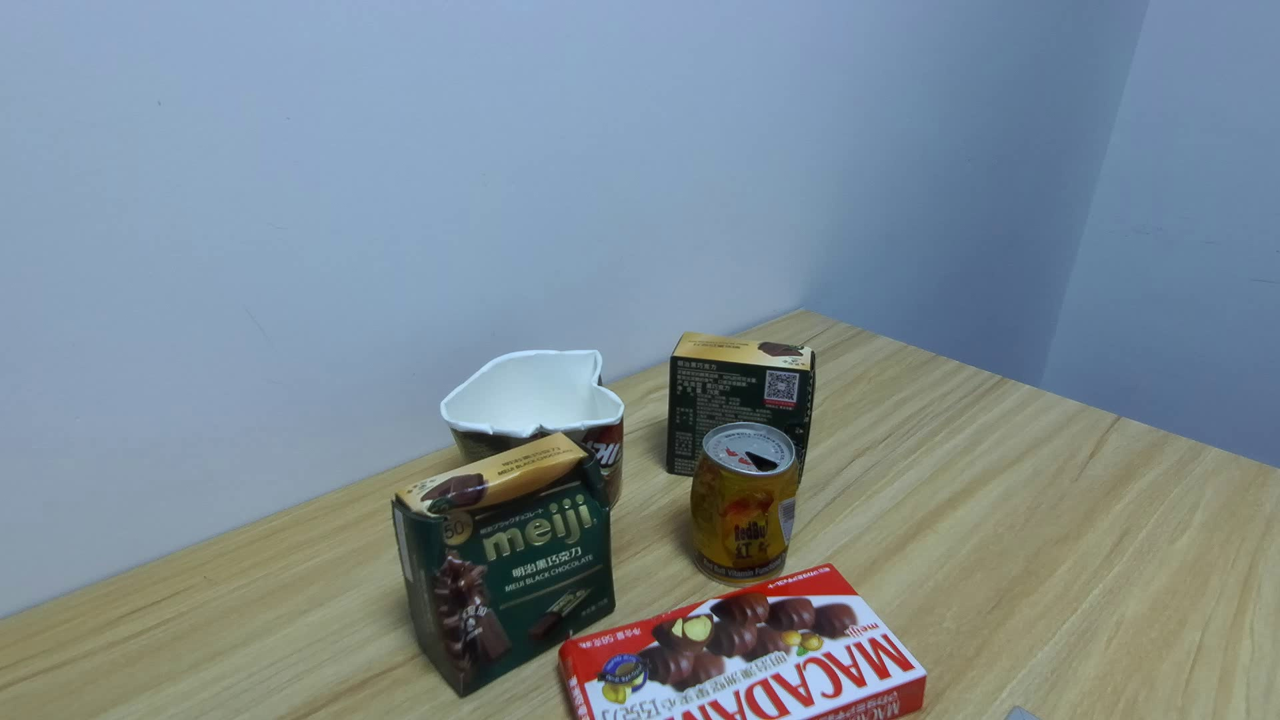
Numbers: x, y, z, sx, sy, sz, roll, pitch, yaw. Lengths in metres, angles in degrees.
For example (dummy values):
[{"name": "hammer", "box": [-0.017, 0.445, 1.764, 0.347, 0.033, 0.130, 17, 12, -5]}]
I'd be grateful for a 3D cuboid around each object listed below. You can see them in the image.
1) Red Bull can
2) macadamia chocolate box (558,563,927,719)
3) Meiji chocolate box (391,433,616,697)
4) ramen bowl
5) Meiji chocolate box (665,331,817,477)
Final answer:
[{"name": "Red Bull can", "box": [0.068, 0.095, 0.469, 0.072, 0.092, 0.072, 2, 26, -1]}, {"name": "macadamia chocolate box", "box": [0.054, 0.173, 0.390, 0.183, 0.028, 0.105, -10, 27, -18]}, {"name": "Meiji chocolate box", "box": [-0.074, 0.113, 0.415, 0.118, 0.117, 0.051, -18, 22, -34]}, {"name": "ramen bowl", "box": [-0.078, 0.061, 0.533, 0.134, 0.097, 0.113, -6, 28, -18]}, {"name": "Meiji chocolate box", "box": [0.082, 0.039, 0.569, 0.113, 0.111, 0.058, 6, 25, 13]}]
